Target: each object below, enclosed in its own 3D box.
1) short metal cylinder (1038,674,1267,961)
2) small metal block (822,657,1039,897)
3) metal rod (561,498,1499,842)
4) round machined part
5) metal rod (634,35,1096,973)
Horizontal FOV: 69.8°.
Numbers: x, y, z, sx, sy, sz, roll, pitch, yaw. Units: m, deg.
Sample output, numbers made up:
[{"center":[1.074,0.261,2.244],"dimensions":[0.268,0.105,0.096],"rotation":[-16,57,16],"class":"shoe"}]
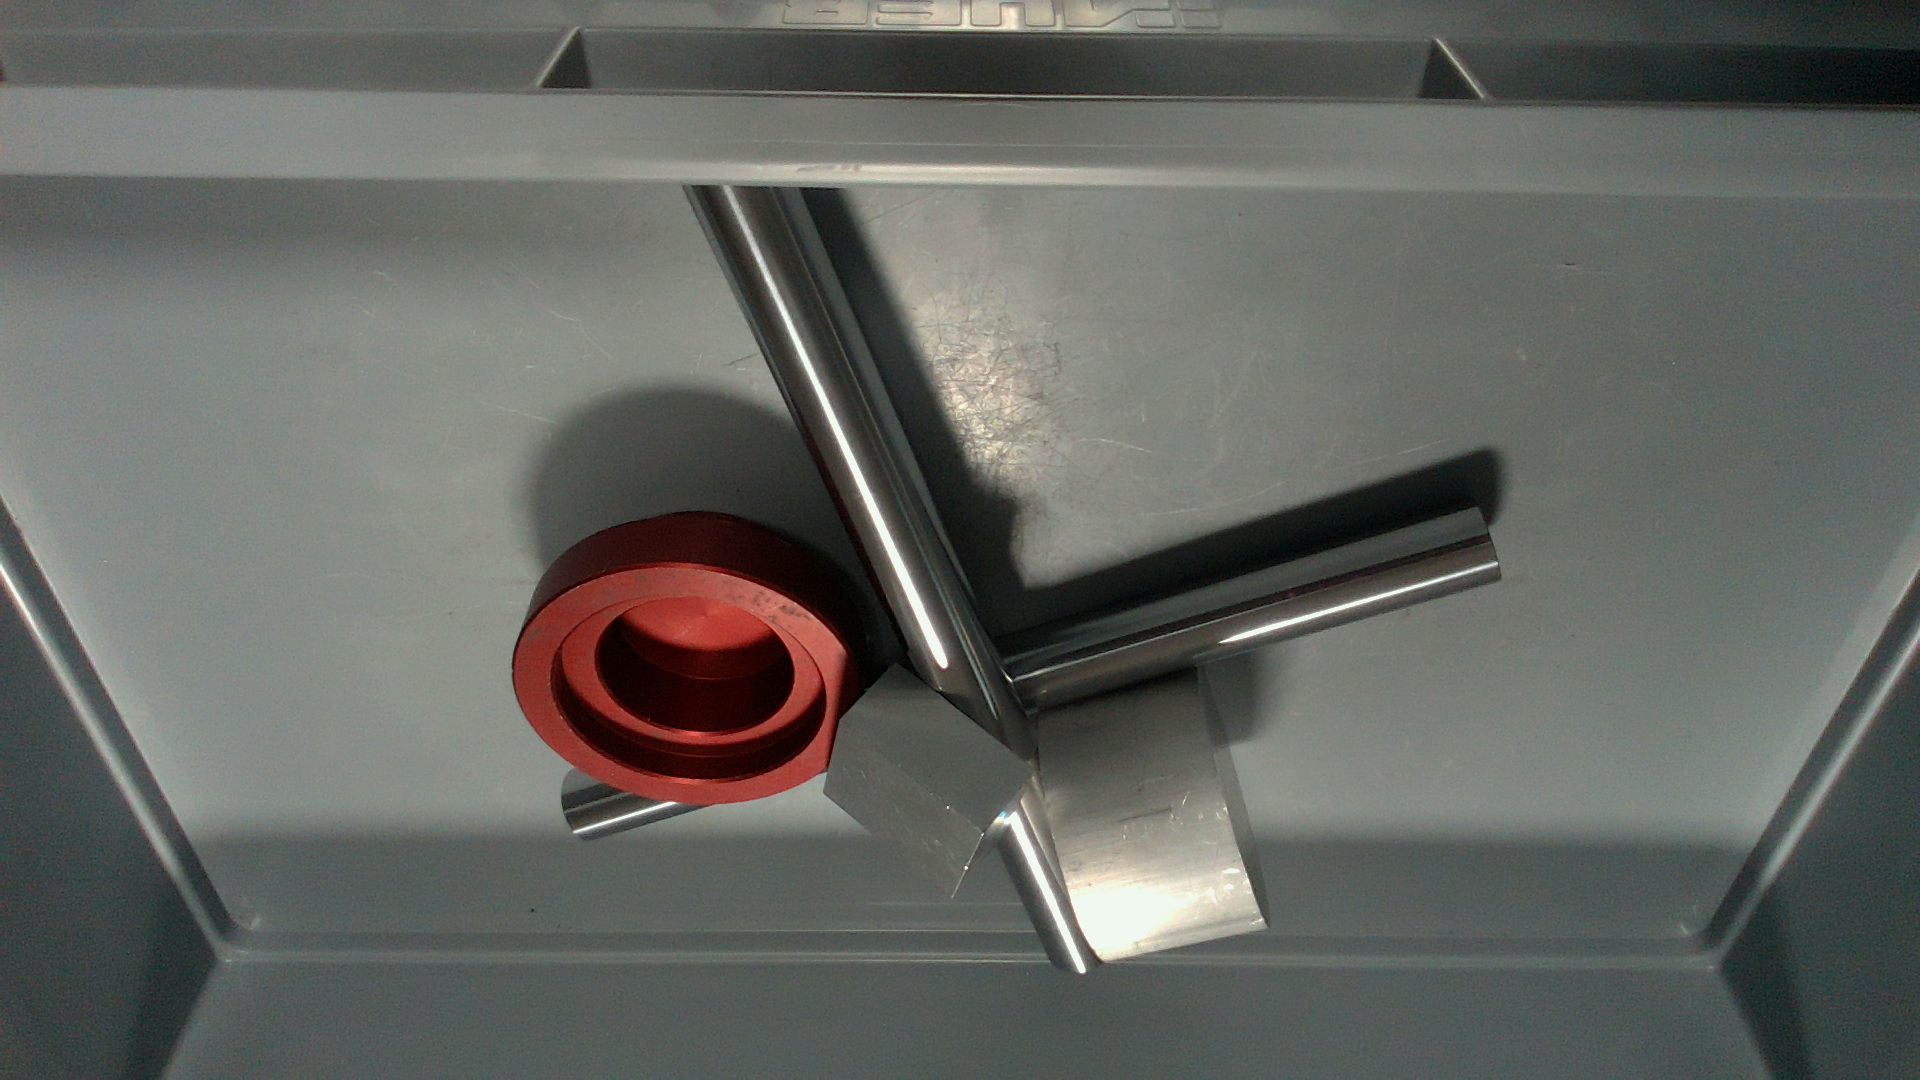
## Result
[{"center":[0.060,0.084,0.424],"dimensions":[0.050,0.080,0.080],"rotation":[-15,129,13],"class":"short metal cylinder"},{"center":[-0.010,0.069,0.393],"dimensions":[0.050,0.025,0.050],"rotation":[37,147,13],"class":"small metal block"},{"center":[0.011,0.045,0.427],"dimensions":[0.299,0.025,0.025],"rotation":[-18,128,14],"class":"metal rod"},{"center":[-0.077,0.030,0.403],"dimensions":[0.098,0.042,0.098],"rotation":[0,130,0],"class":"round machined part"},{"center":[-0.010,0.013,0.377],"dimensions":[0.025,0.025,0.300],"rotation":[-15,122,12],"class":"metal rod"}]
